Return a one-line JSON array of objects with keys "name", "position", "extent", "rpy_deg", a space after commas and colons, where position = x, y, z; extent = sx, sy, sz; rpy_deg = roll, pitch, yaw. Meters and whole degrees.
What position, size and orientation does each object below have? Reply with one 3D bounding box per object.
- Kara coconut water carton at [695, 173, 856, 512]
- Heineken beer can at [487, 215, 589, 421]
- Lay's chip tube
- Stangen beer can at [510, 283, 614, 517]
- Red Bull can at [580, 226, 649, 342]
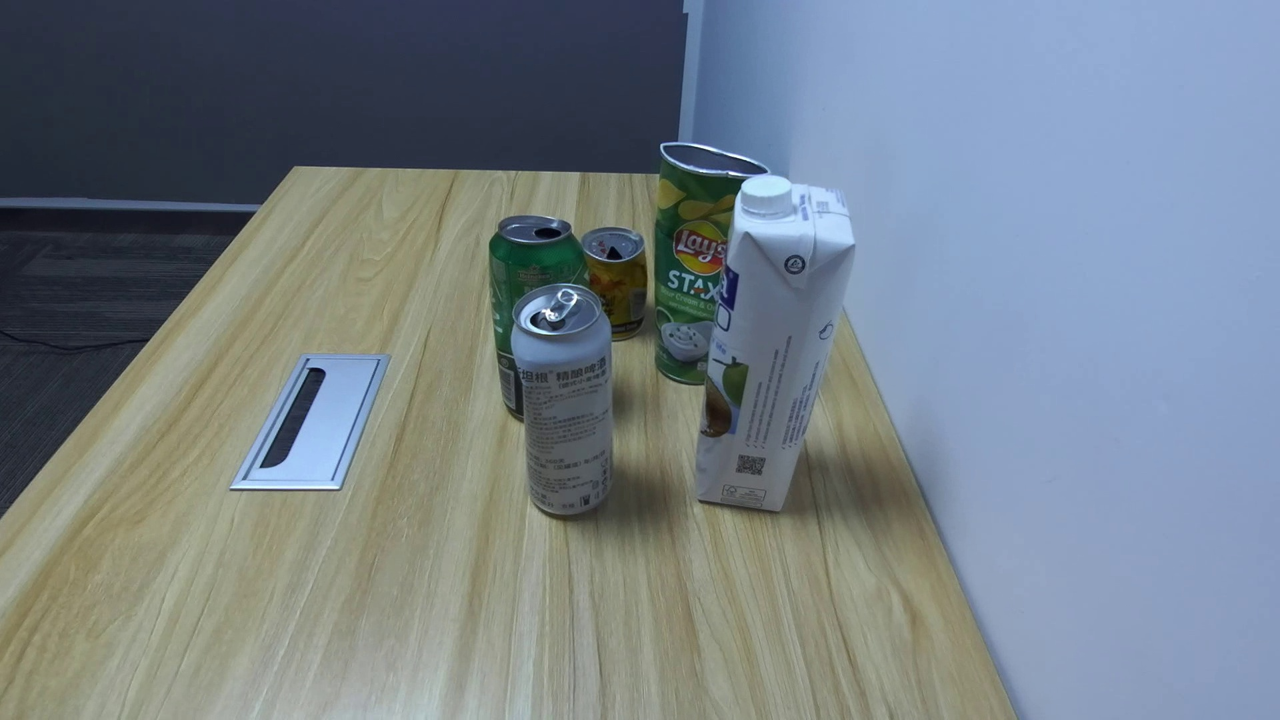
[{"name": "Kara coconut water carton", "position": [0.085, -0.004, 0.477], "extent": [0.075, 0.245, 0.077], "rpy_deg": [7, 39, 3]}, {"name": "Heineken beer can", "position": [-0.079, -0.028, 0.562], "extent": [0.069, 0.168, 0.068], "rpy_deg": [-14, 36, -23]}, {"name": "Lay's chip tube", "position": [0.054, -0.075, 0.595], "extent": [0.075, 0.200, 0.068], "rpy_deg": [-5, 41, -9]}, {"name": "Stangen beer can", "position": [-0.053, 0.031, 0.485], "extent": [0.070, 0.173, 0.069], "rpy_deg": [-23, 45, -28]}, {"name": "Red Bull can", "position": [-0.027, -0.073, 0.674], "extent": [0.072, 0.092, 0.072], "rpy_deg": [2, 40, -2]}]
